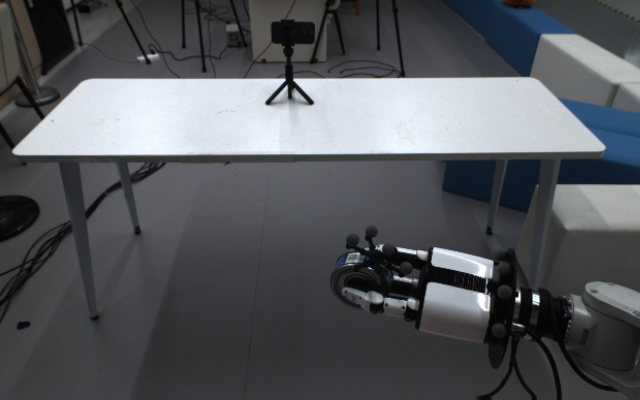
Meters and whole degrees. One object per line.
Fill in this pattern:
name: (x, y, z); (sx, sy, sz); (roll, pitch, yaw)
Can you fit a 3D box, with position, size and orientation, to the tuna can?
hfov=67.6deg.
tuna can: (0.062, 0.120, 0.676); (0.085, 0.085, 0.034); (12, 35, 14)
